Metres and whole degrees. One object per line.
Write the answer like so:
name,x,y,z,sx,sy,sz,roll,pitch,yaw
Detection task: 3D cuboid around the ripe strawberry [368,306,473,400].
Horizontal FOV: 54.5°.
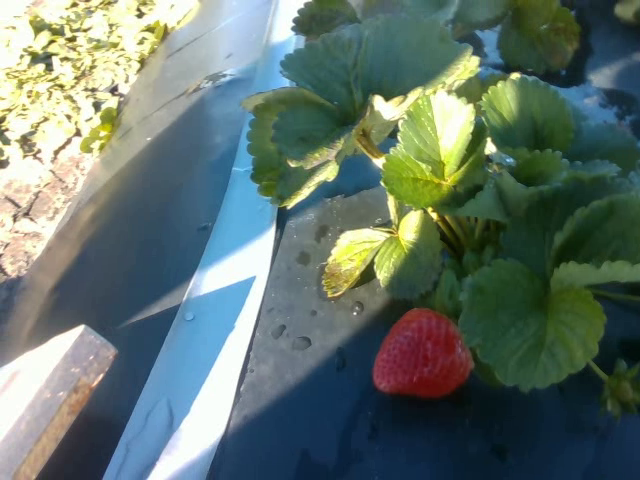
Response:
ripe strawberry,0.044,0.053,0.282,0.058,0.042,0.045,-33,17,-25
